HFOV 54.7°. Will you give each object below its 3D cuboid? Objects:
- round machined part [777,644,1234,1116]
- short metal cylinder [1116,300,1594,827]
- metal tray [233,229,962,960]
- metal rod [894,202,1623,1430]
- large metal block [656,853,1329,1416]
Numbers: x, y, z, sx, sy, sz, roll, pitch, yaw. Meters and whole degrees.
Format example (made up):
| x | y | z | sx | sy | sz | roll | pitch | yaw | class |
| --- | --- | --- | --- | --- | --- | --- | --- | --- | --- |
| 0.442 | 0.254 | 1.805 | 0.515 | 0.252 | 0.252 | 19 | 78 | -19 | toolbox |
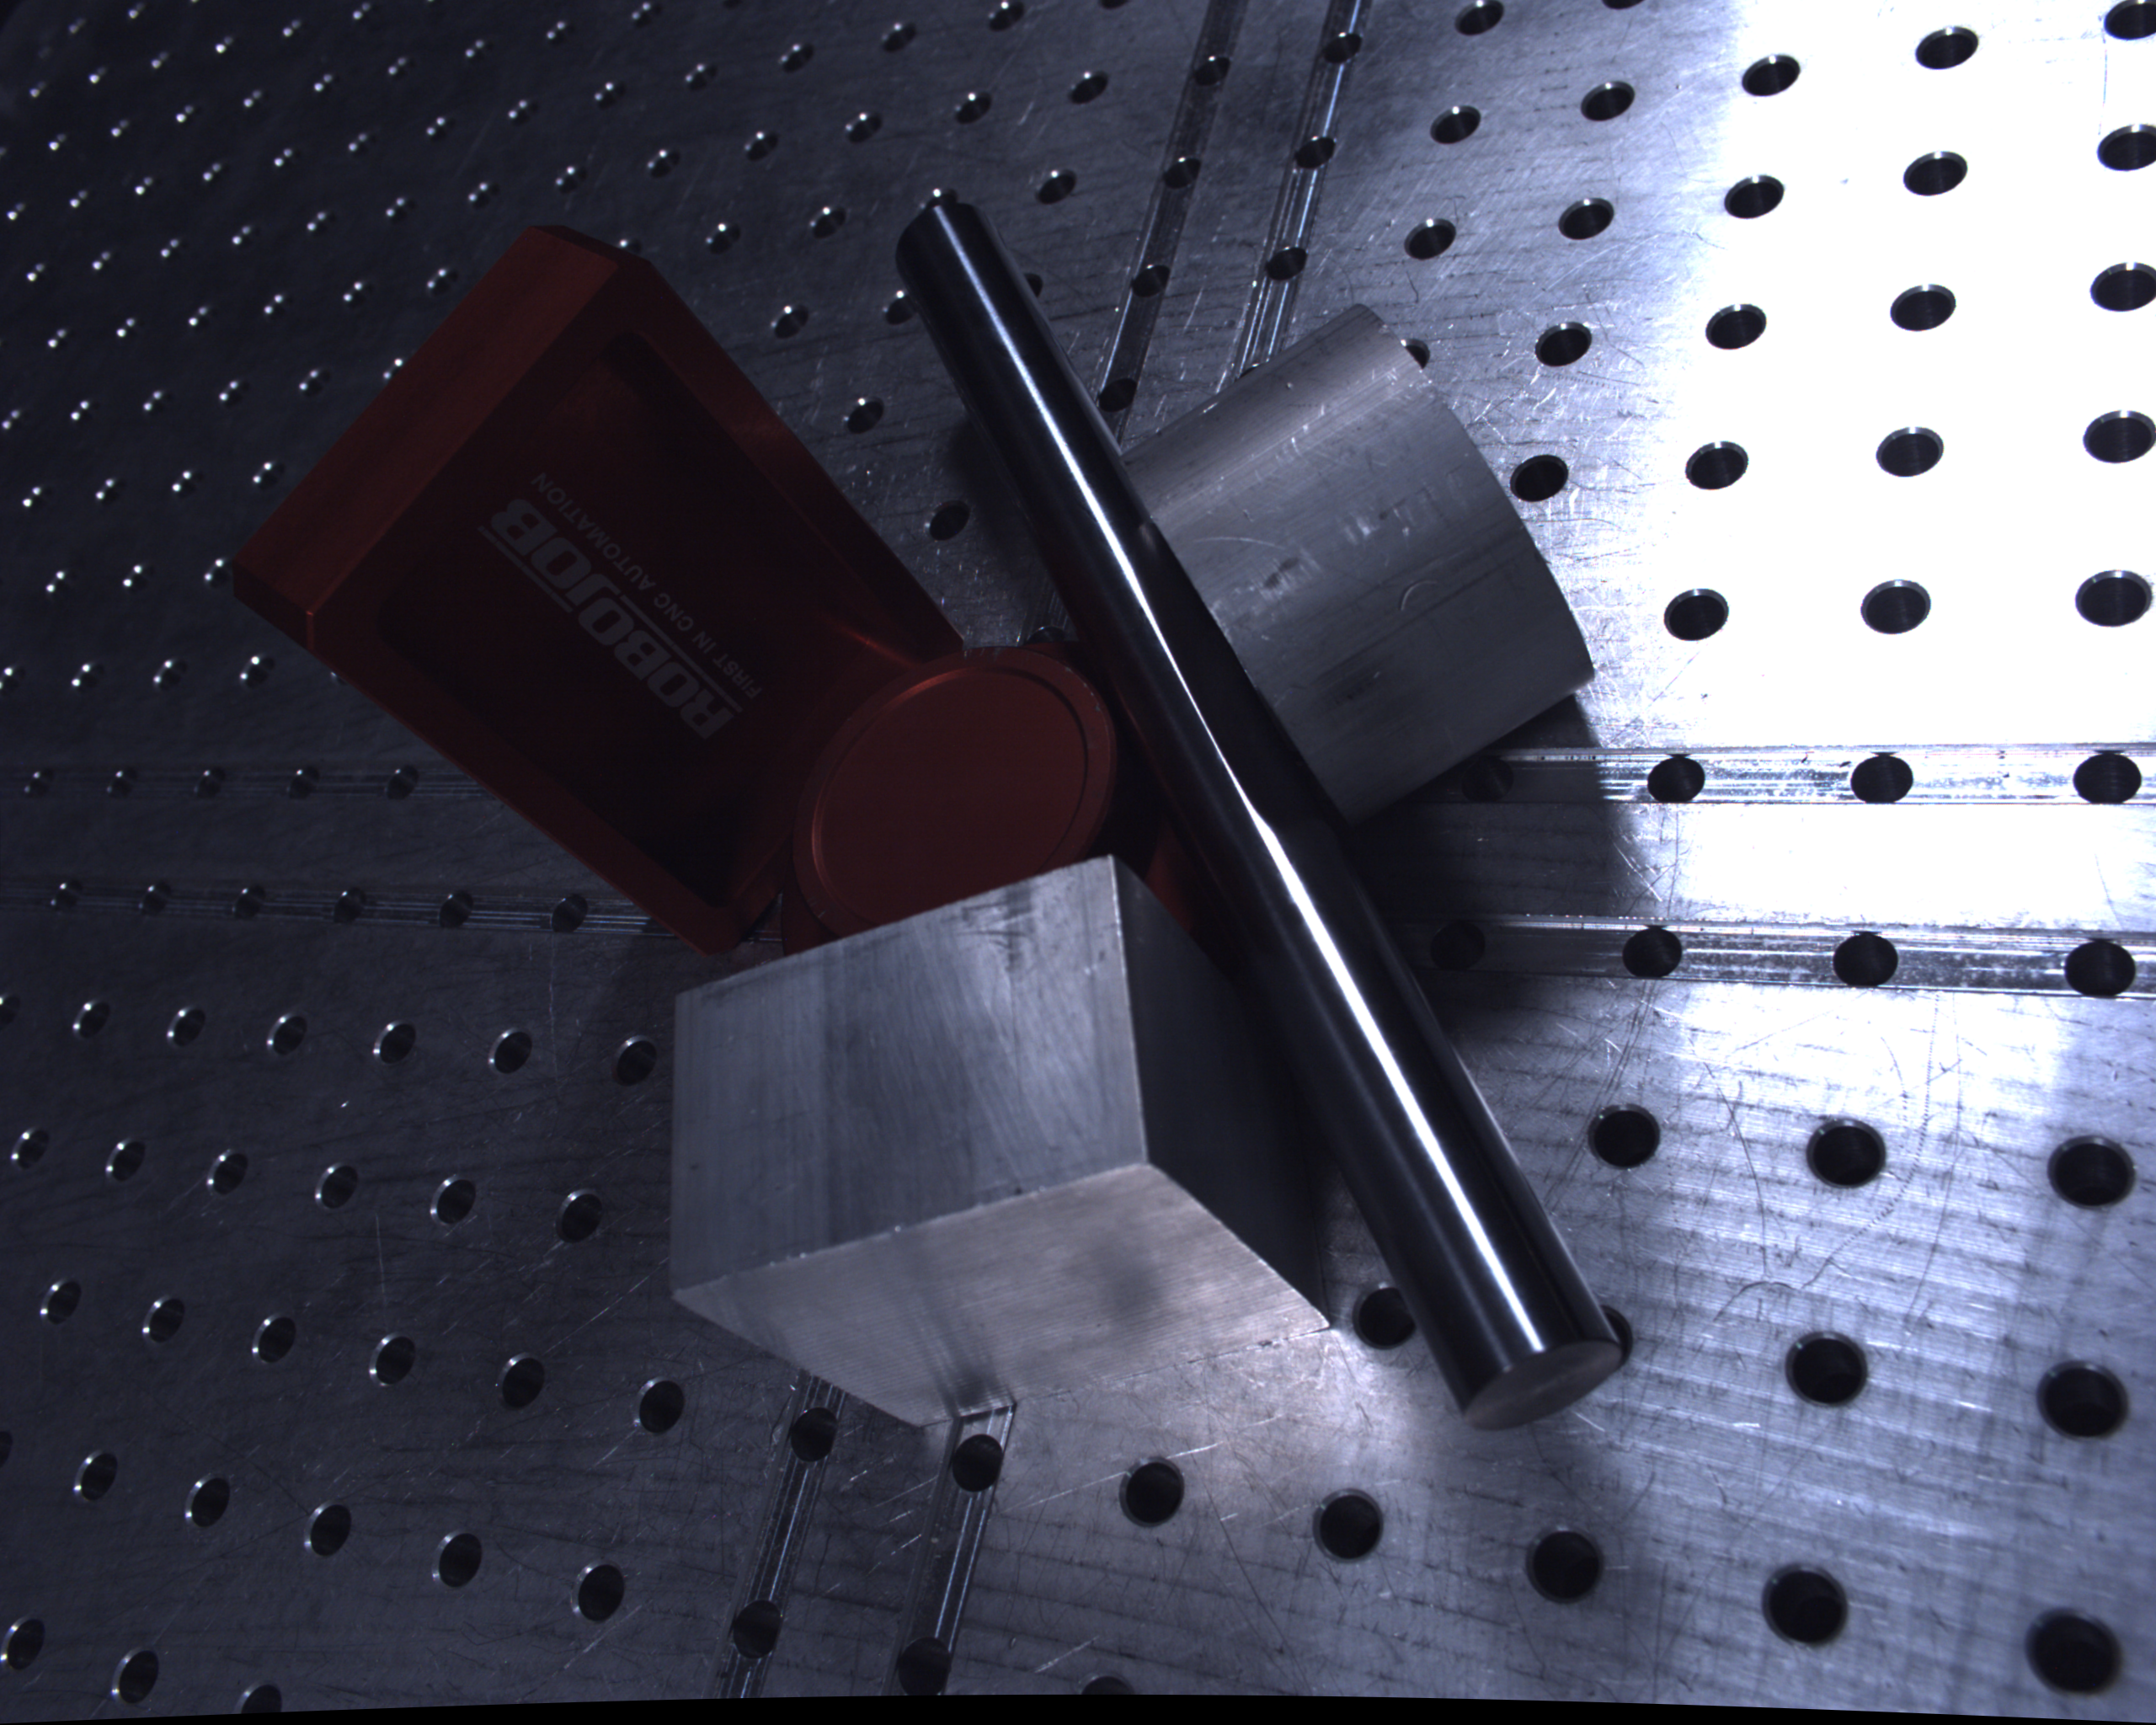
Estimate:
| x | y | z | sx | sy | sz | roll | pitch | yaw | class |
| --- | --- | --- | --- | --- | --- | --- | --- | --- | --- |
| -0.017 | -0.002 | 0.406 | 0.098 | 0.042 | 0.098 | -13 | 56 | 20 | round machined part |
| 0.049 | -0.053 | 0.377 | 0.050 | 0.080 | 0.080 | -32 | 52 | 7 | short metal cylinder |
| -0.087 | -0.048 | 0.415 | 0.030 | 0.130 | 0.090 | 31 | 79 | 37 | metal tray |
| 0.018 | -0.033 | 0.391 | 0.025 | 0.025 | 0.300 | -31 | 52 | 8 | metal rod |
| -0.013 | 0.049 | 0.348 | 0.080 | 0.080 | 0.050 | -18 | 55 | 18 | large metal block |
